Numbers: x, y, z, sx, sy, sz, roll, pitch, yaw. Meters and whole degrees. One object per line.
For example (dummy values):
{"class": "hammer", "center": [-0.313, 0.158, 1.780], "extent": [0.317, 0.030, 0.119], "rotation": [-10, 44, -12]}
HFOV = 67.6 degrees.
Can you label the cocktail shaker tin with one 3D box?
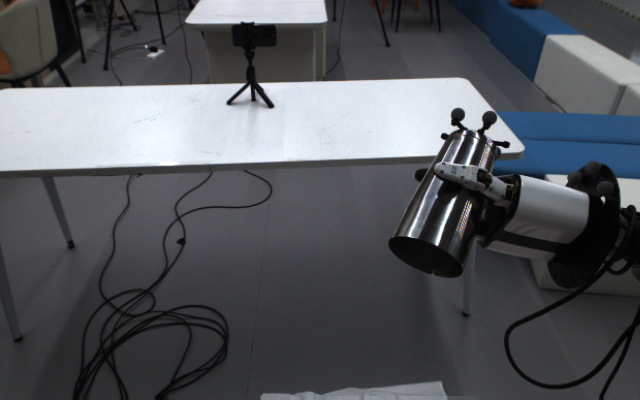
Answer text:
{"class": "cocktail shaker tin", "center": [0.162, -0.005, 0.595], "extent": [0.093, 0.093, 0.170], "rotation": [18, 66, 22]}
